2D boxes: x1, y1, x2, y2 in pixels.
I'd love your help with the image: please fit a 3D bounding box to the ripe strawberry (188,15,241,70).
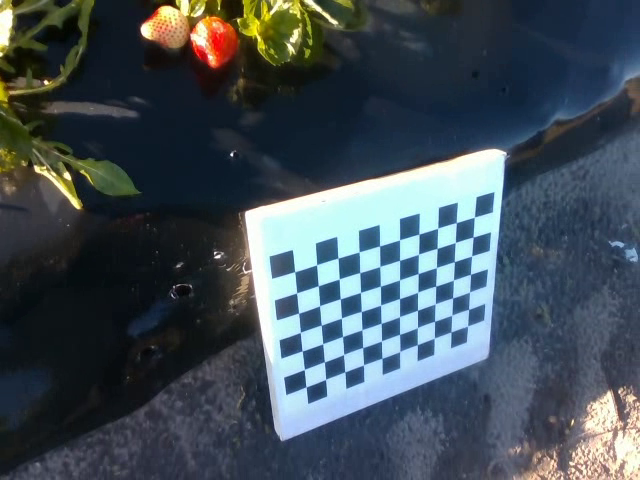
[{"bbox_3d":[-0.081,-0.148,0.471,0.040,0.037,0.055,-17,37,11],"label":"ripe strawberry"}]
